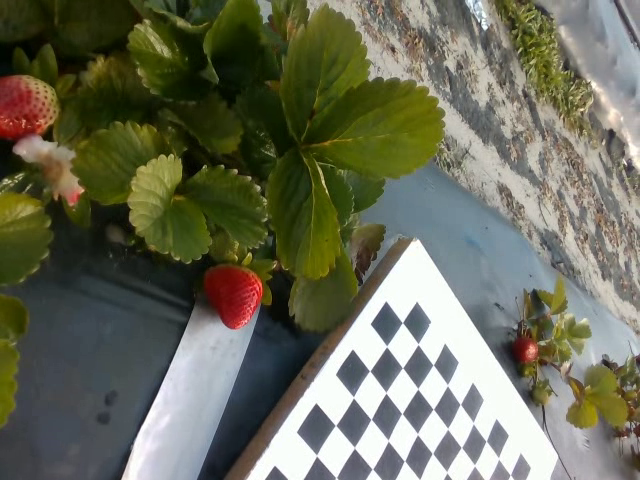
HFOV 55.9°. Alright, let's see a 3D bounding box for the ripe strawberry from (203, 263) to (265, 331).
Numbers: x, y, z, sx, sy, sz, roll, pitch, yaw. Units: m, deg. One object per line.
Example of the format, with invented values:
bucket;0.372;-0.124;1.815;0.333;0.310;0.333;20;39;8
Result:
ripe strawberry;-0.049;0.037;0.359;0.035;0.055;0.050;-15;-53;33
